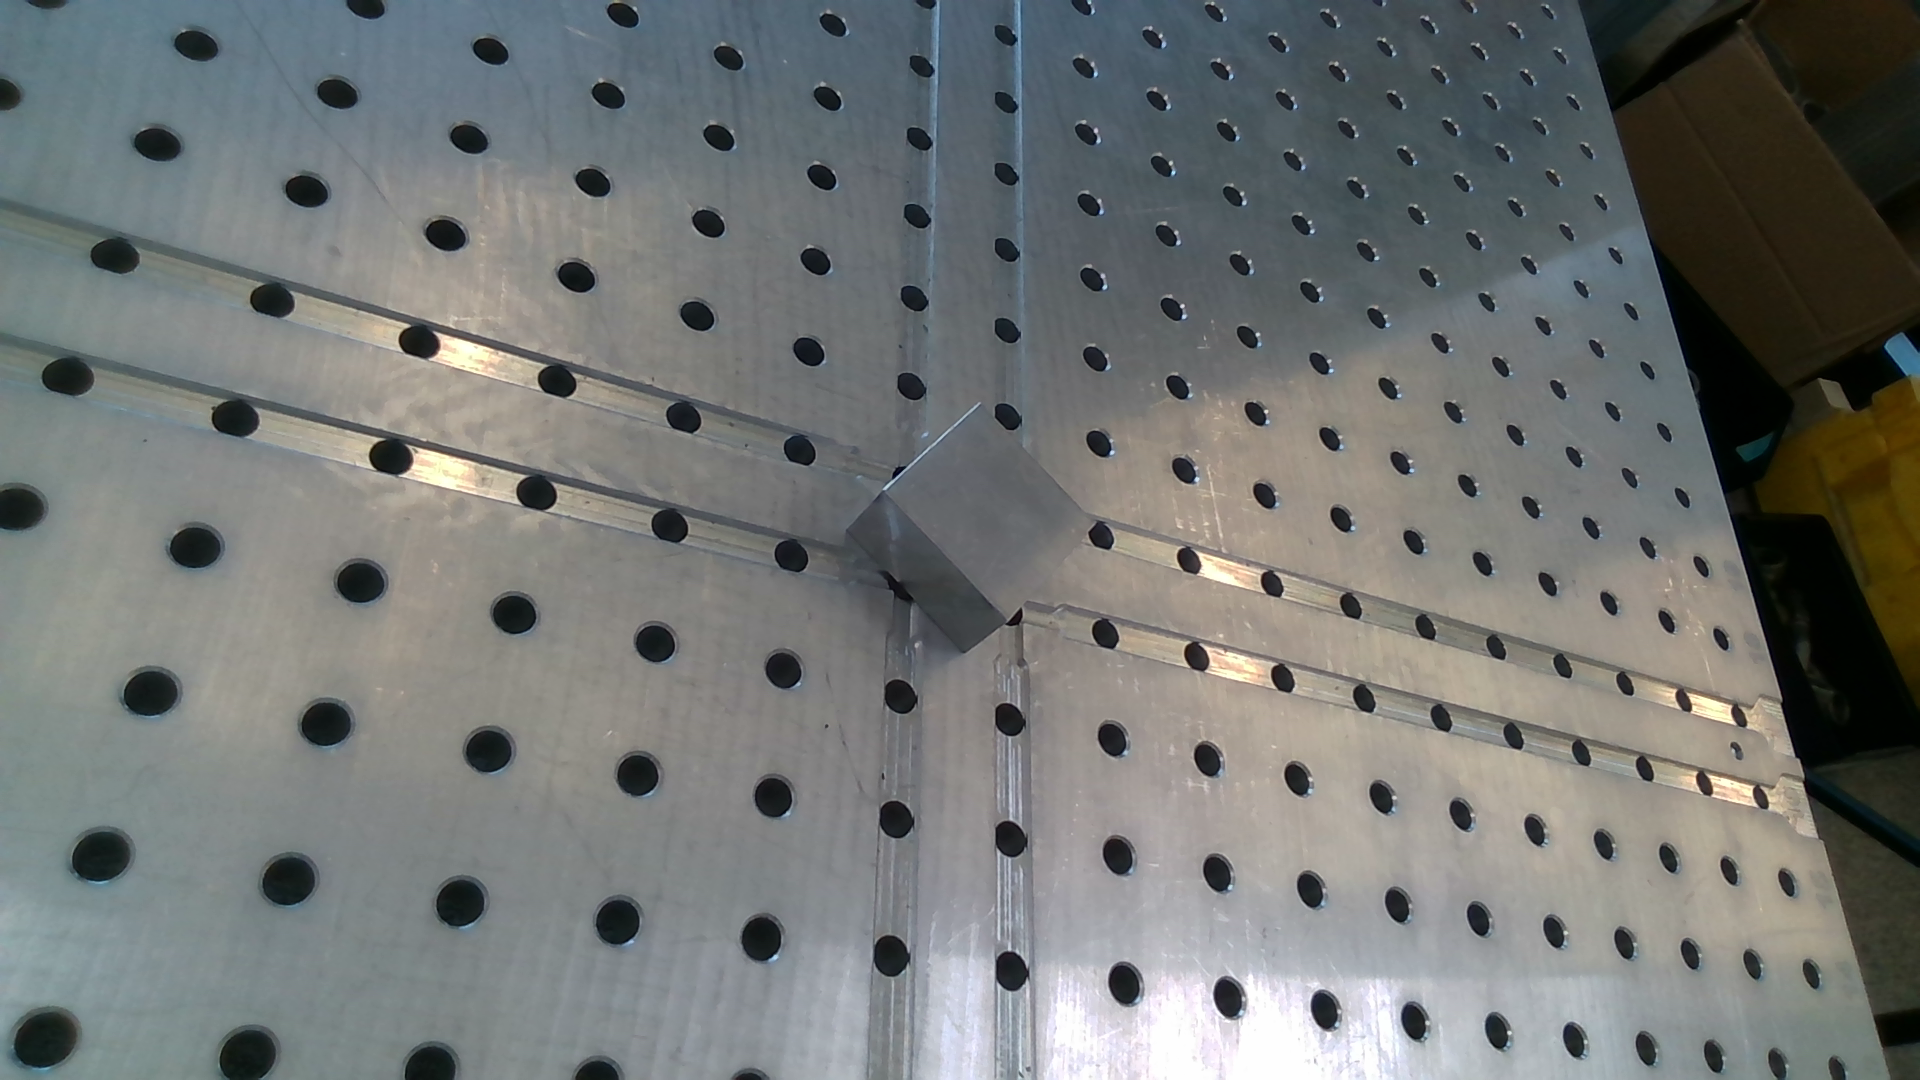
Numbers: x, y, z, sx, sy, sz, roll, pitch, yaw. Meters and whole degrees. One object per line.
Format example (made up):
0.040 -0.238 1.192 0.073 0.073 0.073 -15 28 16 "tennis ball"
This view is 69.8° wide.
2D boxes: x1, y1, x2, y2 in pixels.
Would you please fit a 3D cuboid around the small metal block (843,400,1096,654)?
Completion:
0.003 -0.004 0.401 0.050 0.025 0.050 46 51 -2 "small metal block"
